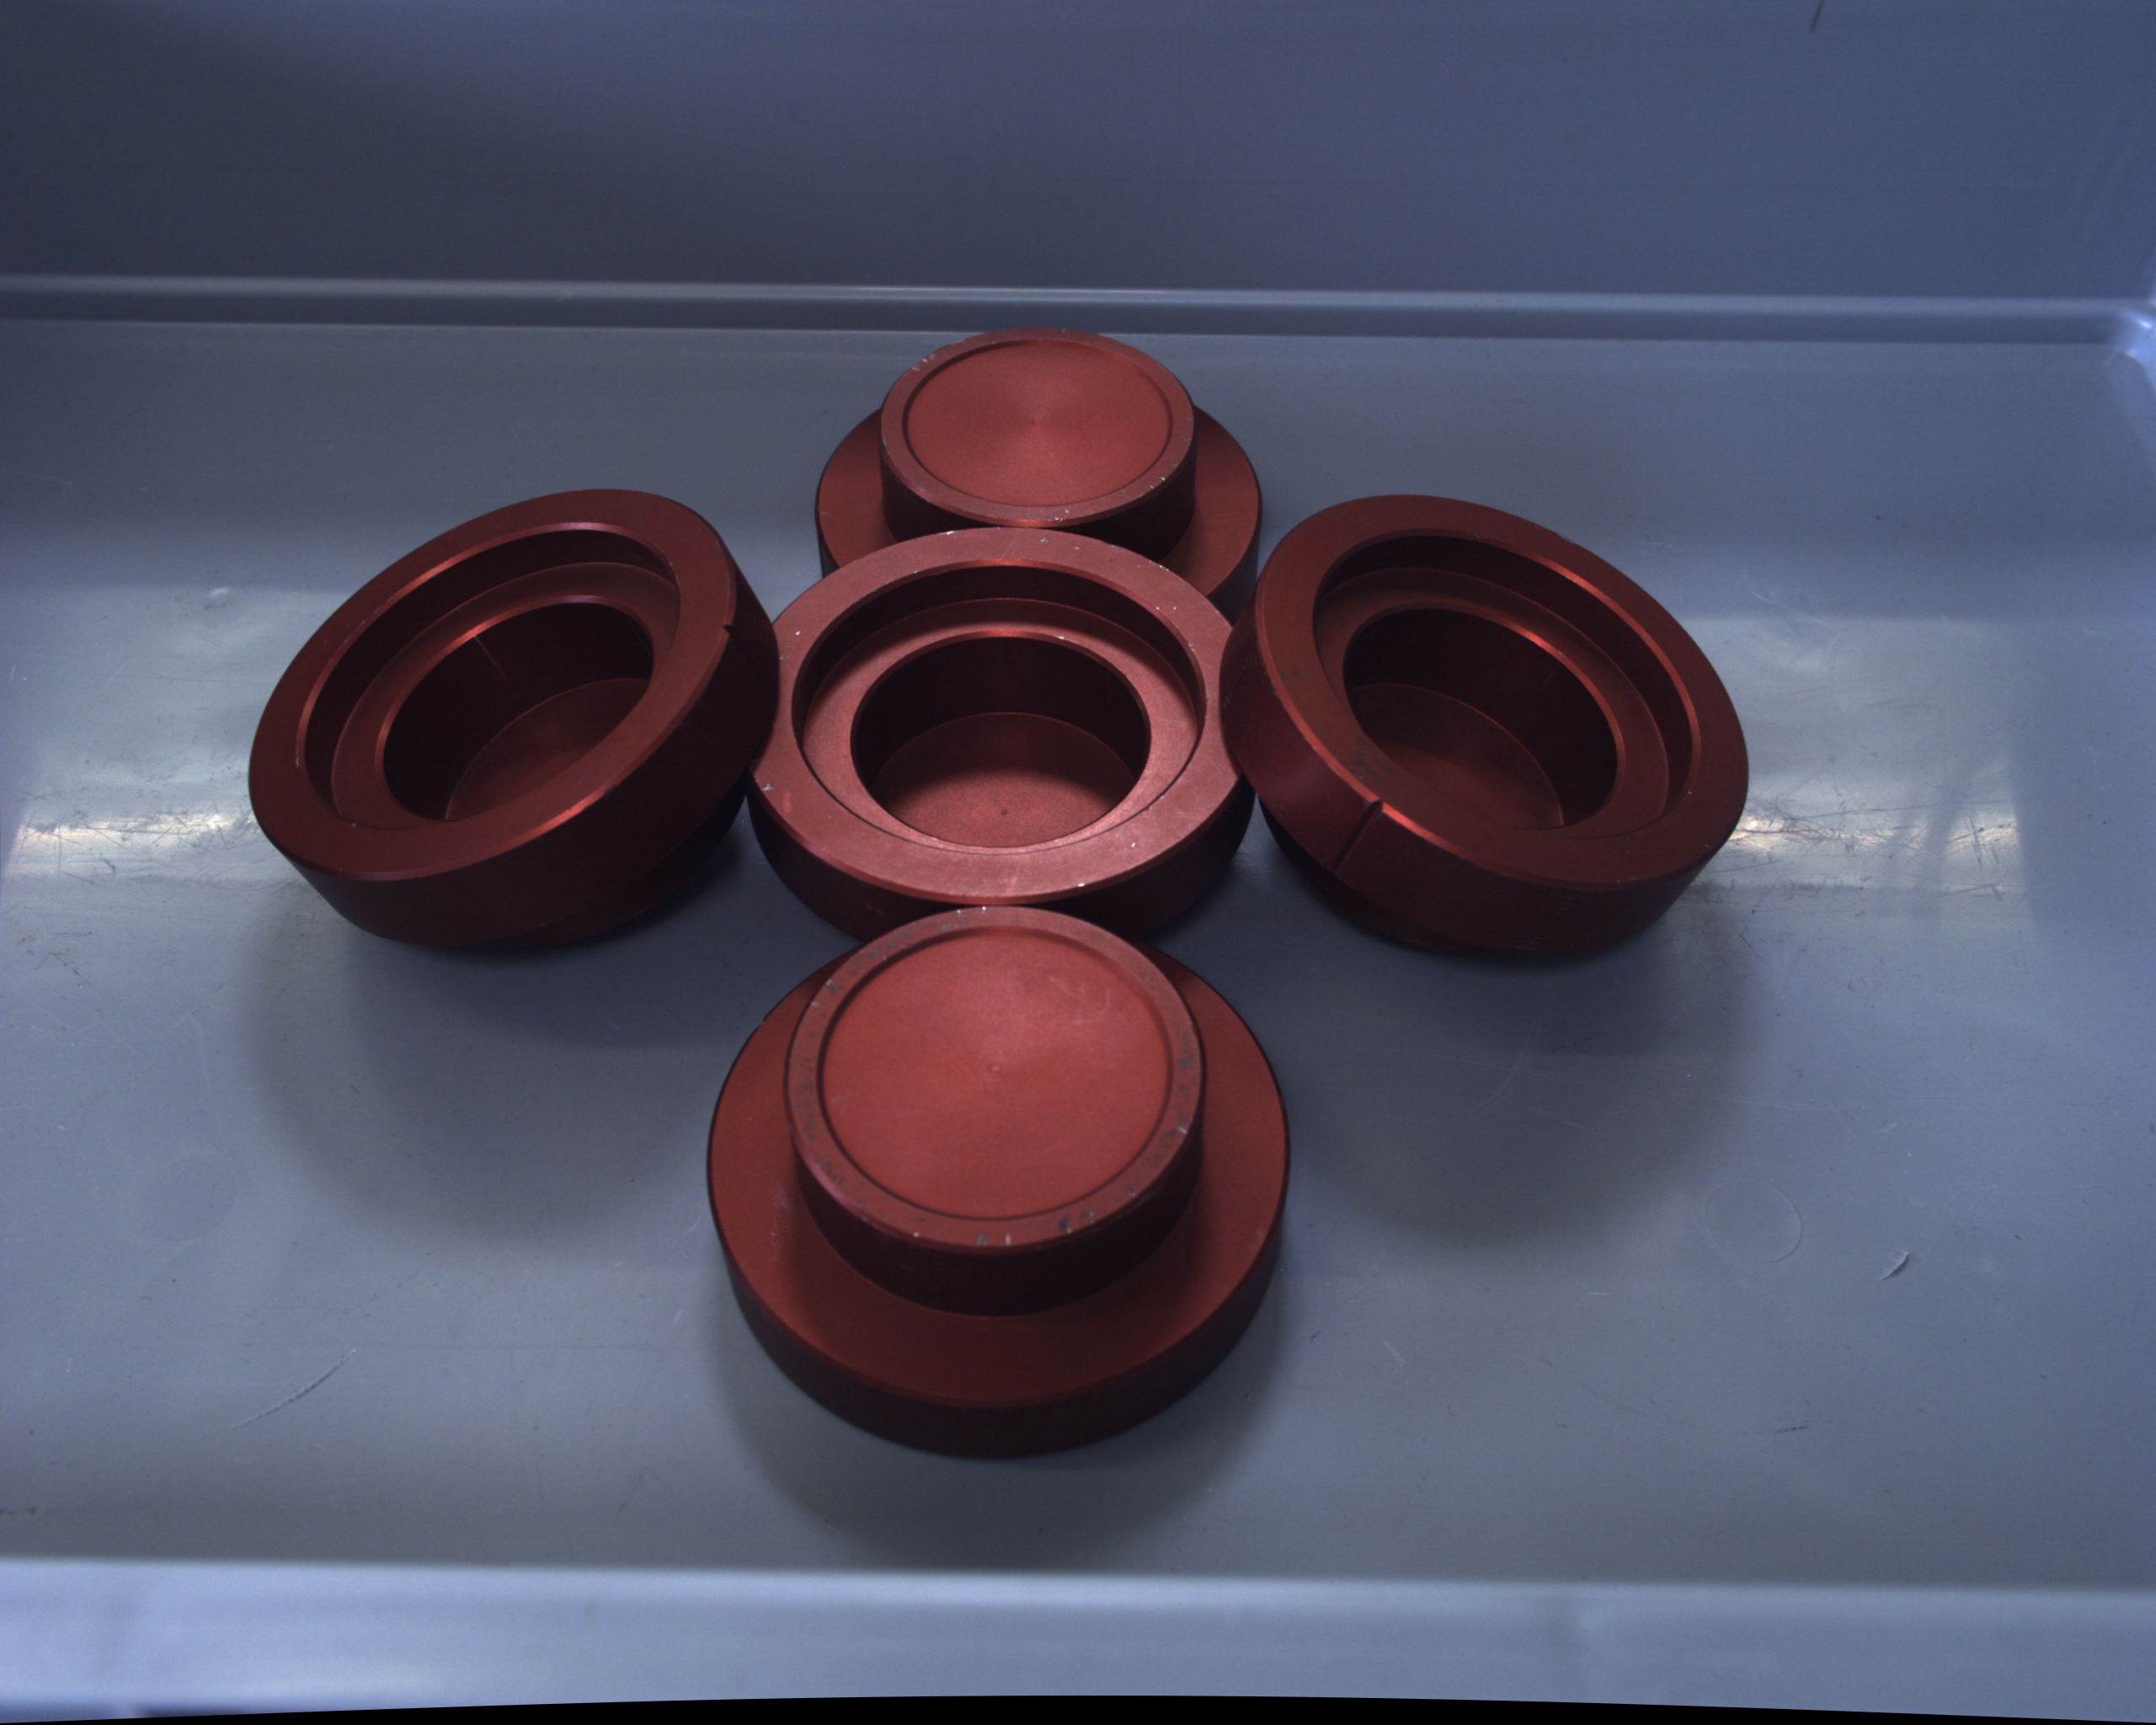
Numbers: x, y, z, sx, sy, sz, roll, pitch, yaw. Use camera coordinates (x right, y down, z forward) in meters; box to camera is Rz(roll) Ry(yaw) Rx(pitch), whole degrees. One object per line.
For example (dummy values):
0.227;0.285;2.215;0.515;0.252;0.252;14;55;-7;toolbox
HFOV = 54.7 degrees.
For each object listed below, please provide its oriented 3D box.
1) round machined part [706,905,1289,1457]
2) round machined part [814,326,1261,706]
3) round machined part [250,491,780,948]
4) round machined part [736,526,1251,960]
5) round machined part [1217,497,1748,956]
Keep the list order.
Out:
-0.013;0.046;0.353;0.099;0.042;0.098;0;50;0;round machined part
-0.009;-0.081;0.460;0.099;0.042;0.098;0;50;0;round machined part
-0.102;-0.023;0.400;0.098;0.042;0.098;-11;48;13;round machined part
-0.015;-0.018;0.406;0.099;0.042;0.098;0;50;0;round machined part
0.073;-0.021;0.399;0.099;0.042;0.098;11;49;-13;round machined part
